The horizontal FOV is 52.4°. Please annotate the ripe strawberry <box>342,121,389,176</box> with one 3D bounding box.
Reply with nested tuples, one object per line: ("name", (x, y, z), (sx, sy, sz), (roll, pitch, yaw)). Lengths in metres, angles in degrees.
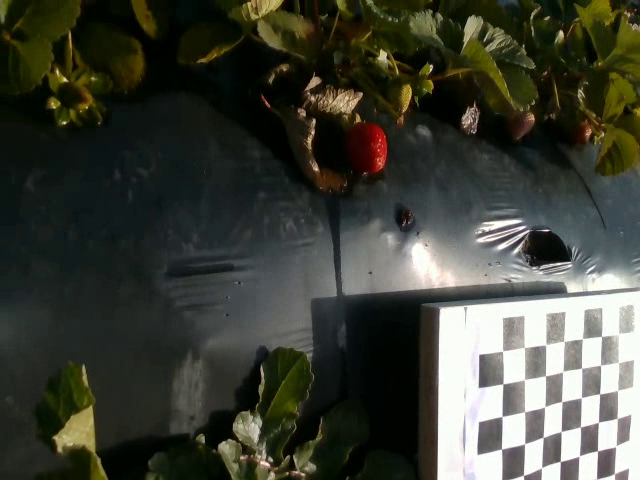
("ripe strawberry", (0.033, -0.053, 0.410), (0.046, 0.054, 0.038), (25, -58, -33))
